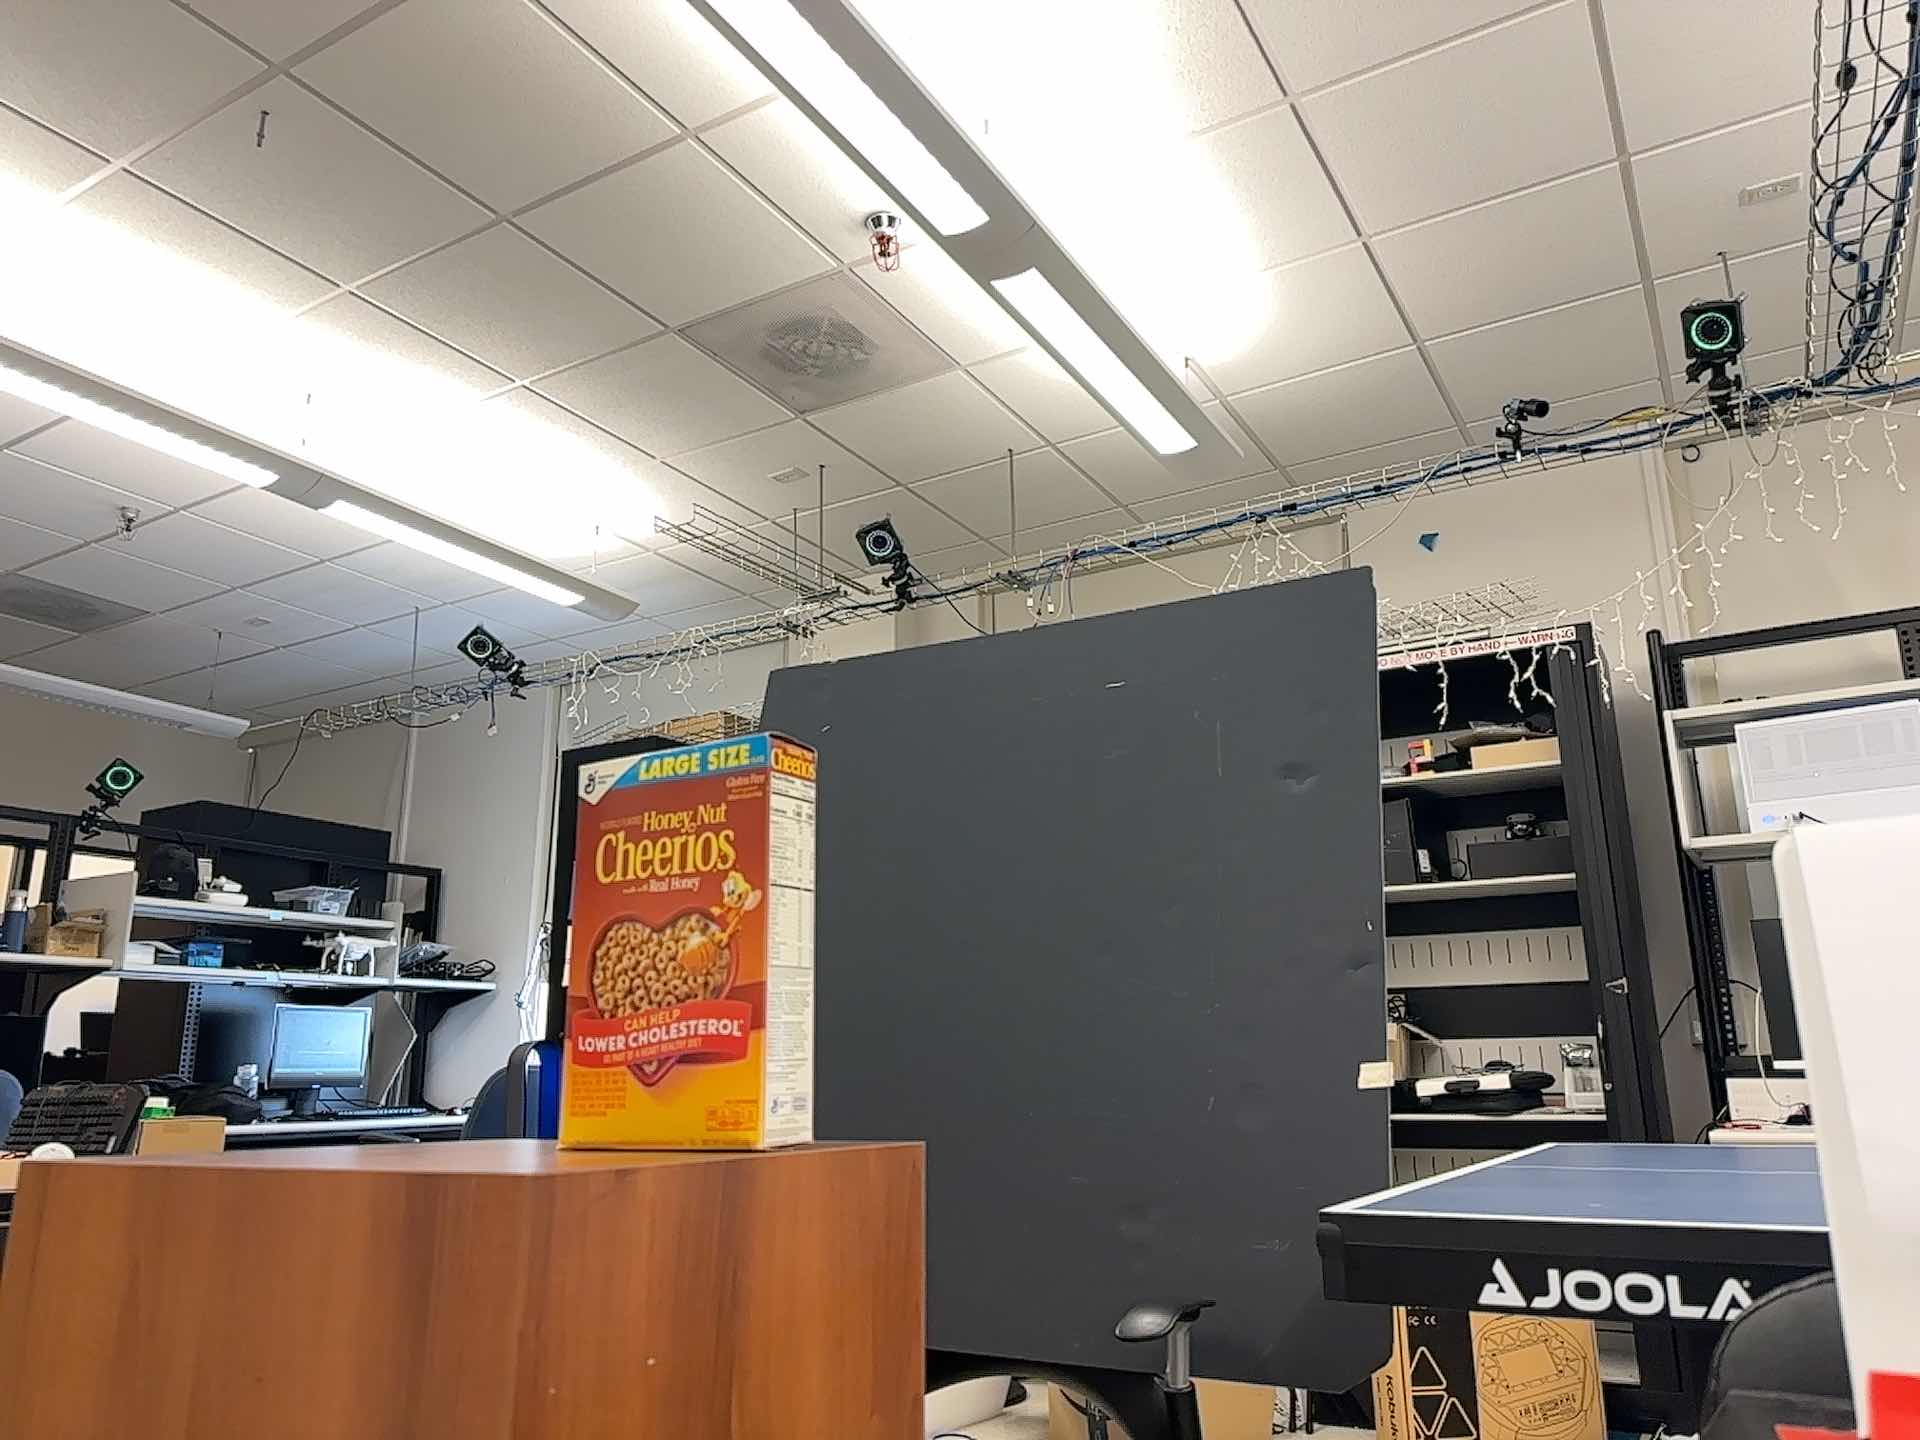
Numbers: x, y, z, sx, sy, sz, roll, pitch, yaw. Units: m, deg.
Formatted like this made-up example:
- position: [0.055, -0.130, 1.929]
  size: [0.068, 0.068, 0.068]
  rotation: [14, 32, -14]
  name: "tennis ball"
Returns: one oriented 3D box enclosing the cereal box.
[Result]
- position: [-0.213, 0.171, 1.043]
  size: [0.195, 0.297, 0.065]
  rotation: [-11, -16, 36]
  name: "cereal box"
